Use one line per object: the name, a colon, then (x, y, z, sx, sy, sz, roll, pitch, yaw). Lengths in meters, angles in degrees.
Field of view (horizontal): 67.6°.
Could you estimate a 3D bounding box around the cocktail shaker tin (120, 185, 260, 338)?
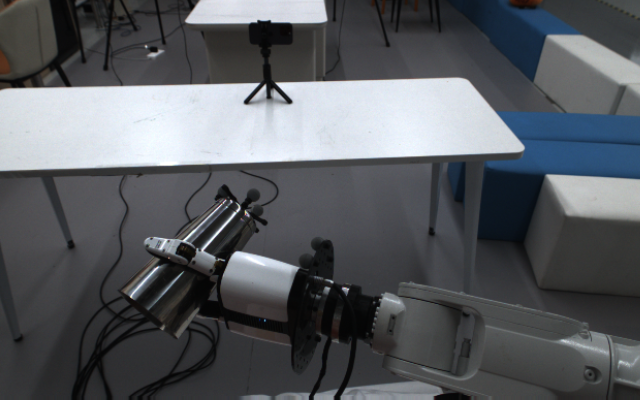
cocktail shaker tin: (-0.159, 0.074, 0.613, 0.093, 0.093, 0.170, 23, 57, 27)
